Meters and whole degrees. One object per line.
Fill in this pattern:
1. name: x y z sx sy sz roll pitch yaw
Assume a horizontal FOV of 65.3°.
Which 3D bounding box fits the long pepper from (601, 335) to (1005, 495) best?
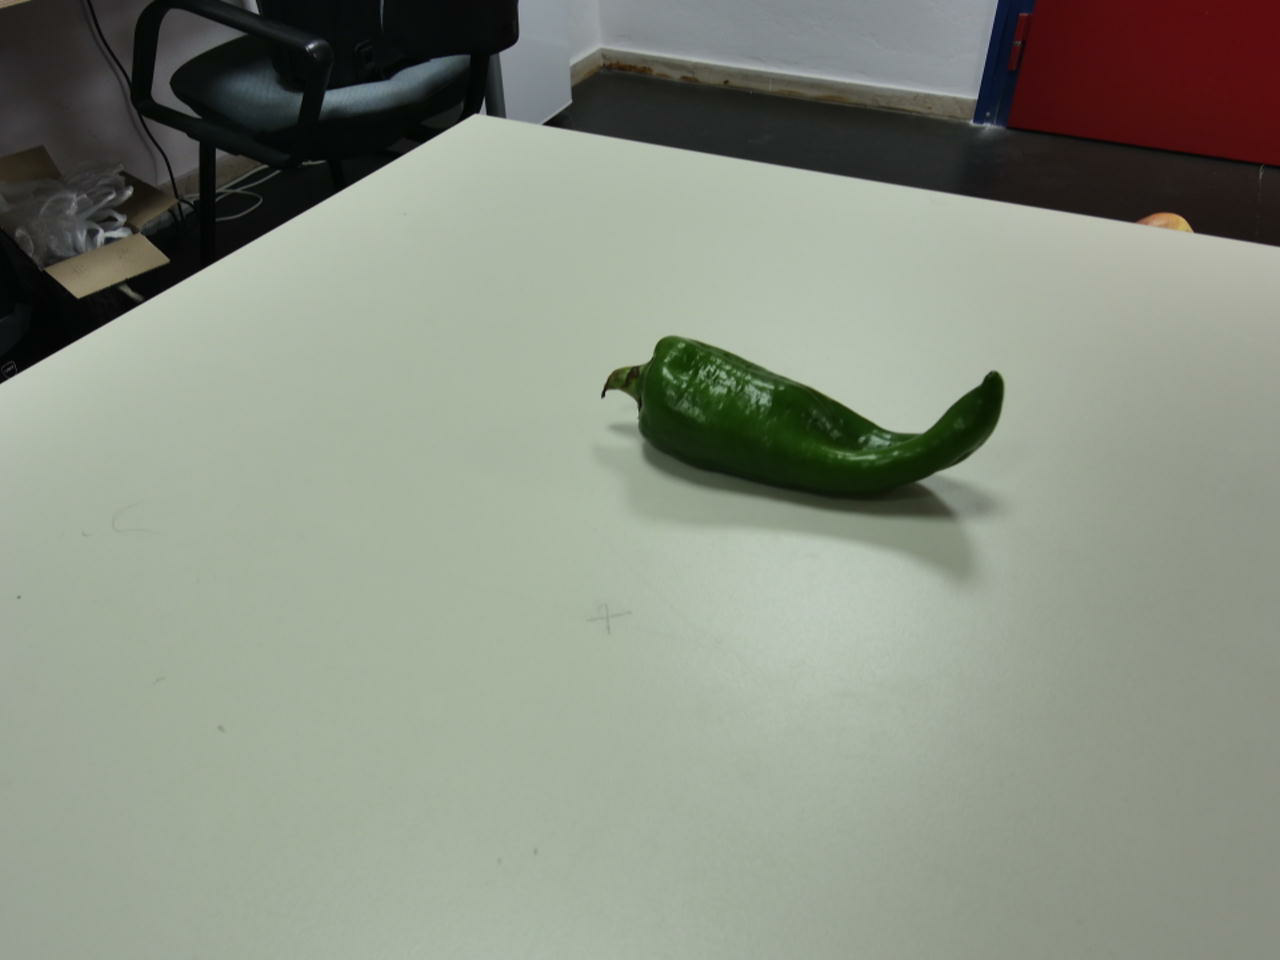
1. long pepper: 0.062 -0.032 0.436 0.175 0.065 0.058 16 40 20
